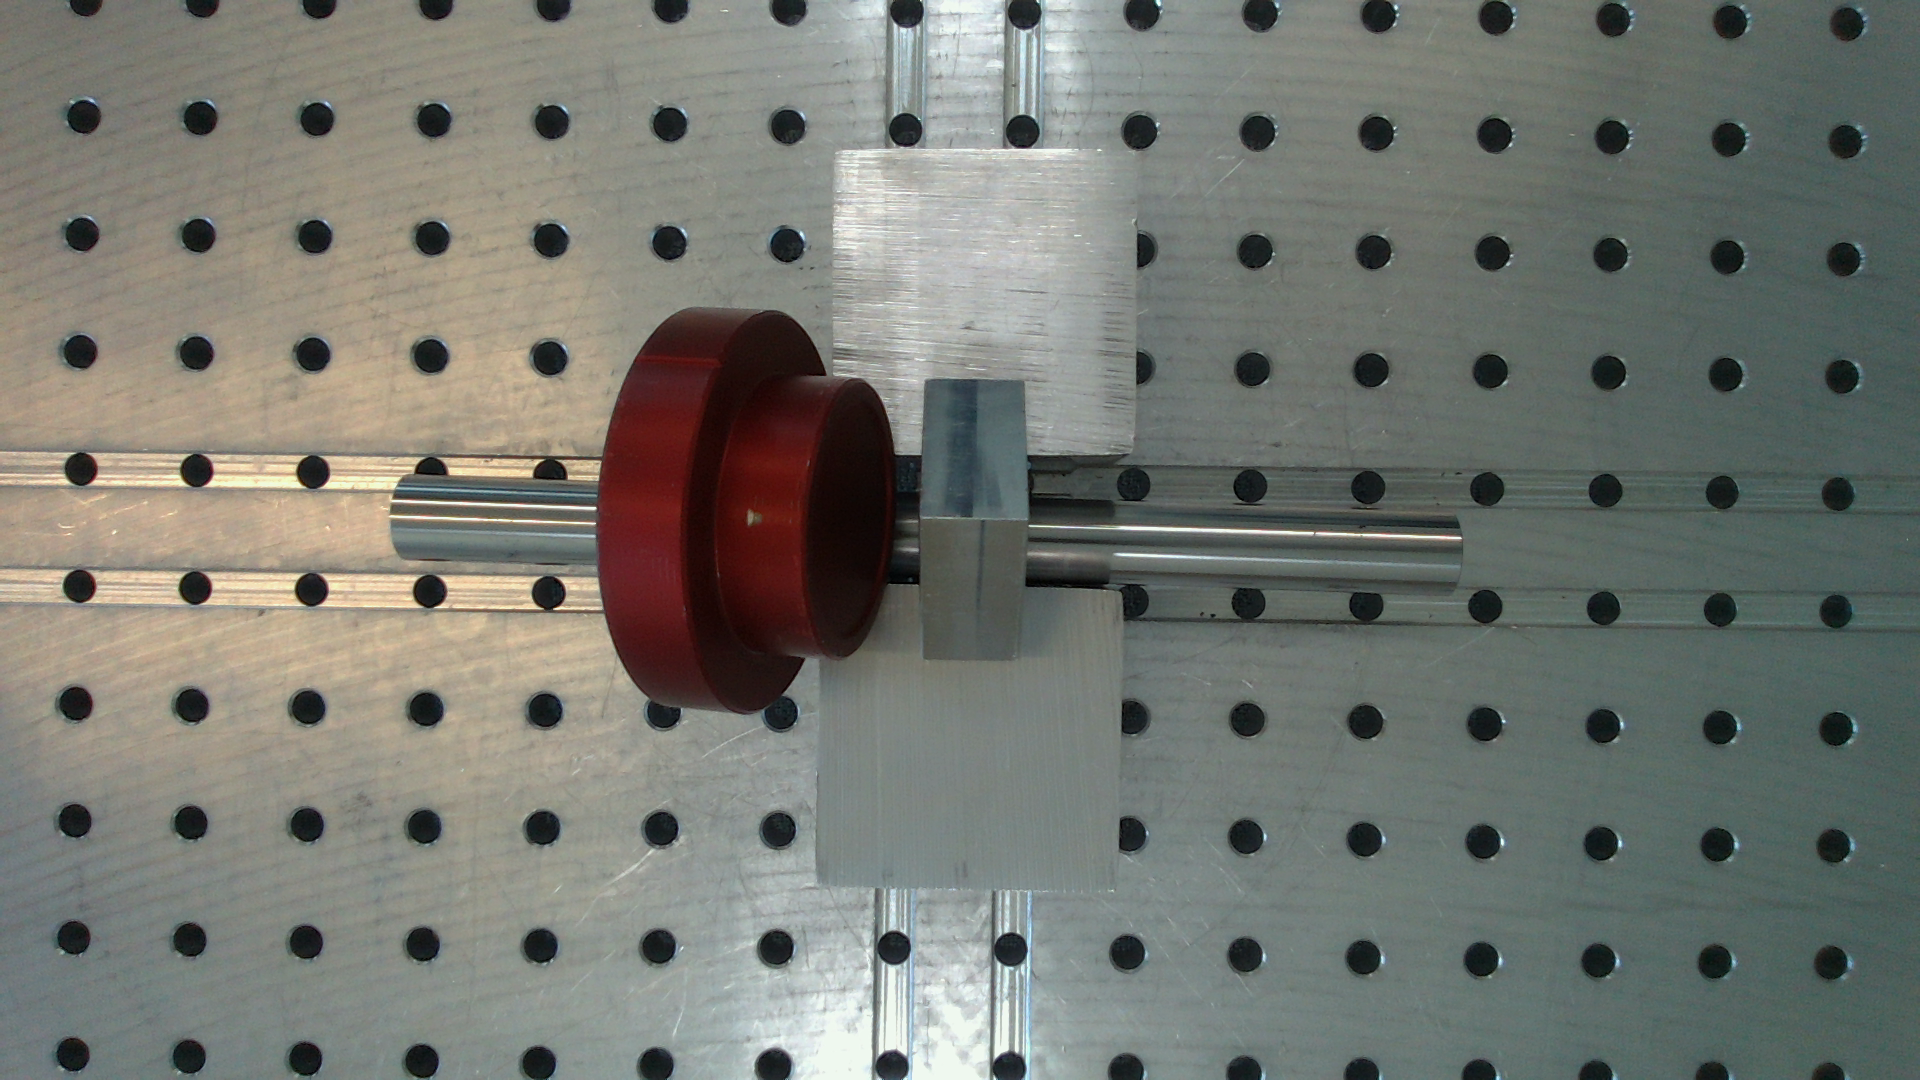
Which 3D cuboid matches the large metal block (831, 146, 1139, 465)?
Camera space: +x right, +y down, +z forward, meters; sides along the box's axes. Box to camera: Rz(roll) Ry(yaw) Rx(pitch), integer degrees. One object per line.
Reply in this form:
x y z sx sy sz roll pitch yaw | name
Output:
0.007 -0.063 0.385 0.080 0.050 0.080 1 90 0 | large metal block

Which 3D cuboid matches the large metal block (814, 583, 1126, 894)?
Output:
0.003 0.052 0.385 0.080 0.050 0.080 1 90 0 | large metal block

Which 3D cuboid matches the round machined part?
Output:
-0.045 -0.006 0.332 0.042 0.098 0.098 4 90 15 | round machined part

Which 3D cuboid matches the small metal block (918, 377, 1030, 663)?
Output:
0.003 -0.005 0.341 0.025 0.050 0.050 1 46 0 | small metal block

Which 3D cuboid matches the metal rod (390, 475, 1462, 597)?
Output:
-0.009 -0.001 0.397 0.300 0.025 0.025 2 90 0 | metal rod
